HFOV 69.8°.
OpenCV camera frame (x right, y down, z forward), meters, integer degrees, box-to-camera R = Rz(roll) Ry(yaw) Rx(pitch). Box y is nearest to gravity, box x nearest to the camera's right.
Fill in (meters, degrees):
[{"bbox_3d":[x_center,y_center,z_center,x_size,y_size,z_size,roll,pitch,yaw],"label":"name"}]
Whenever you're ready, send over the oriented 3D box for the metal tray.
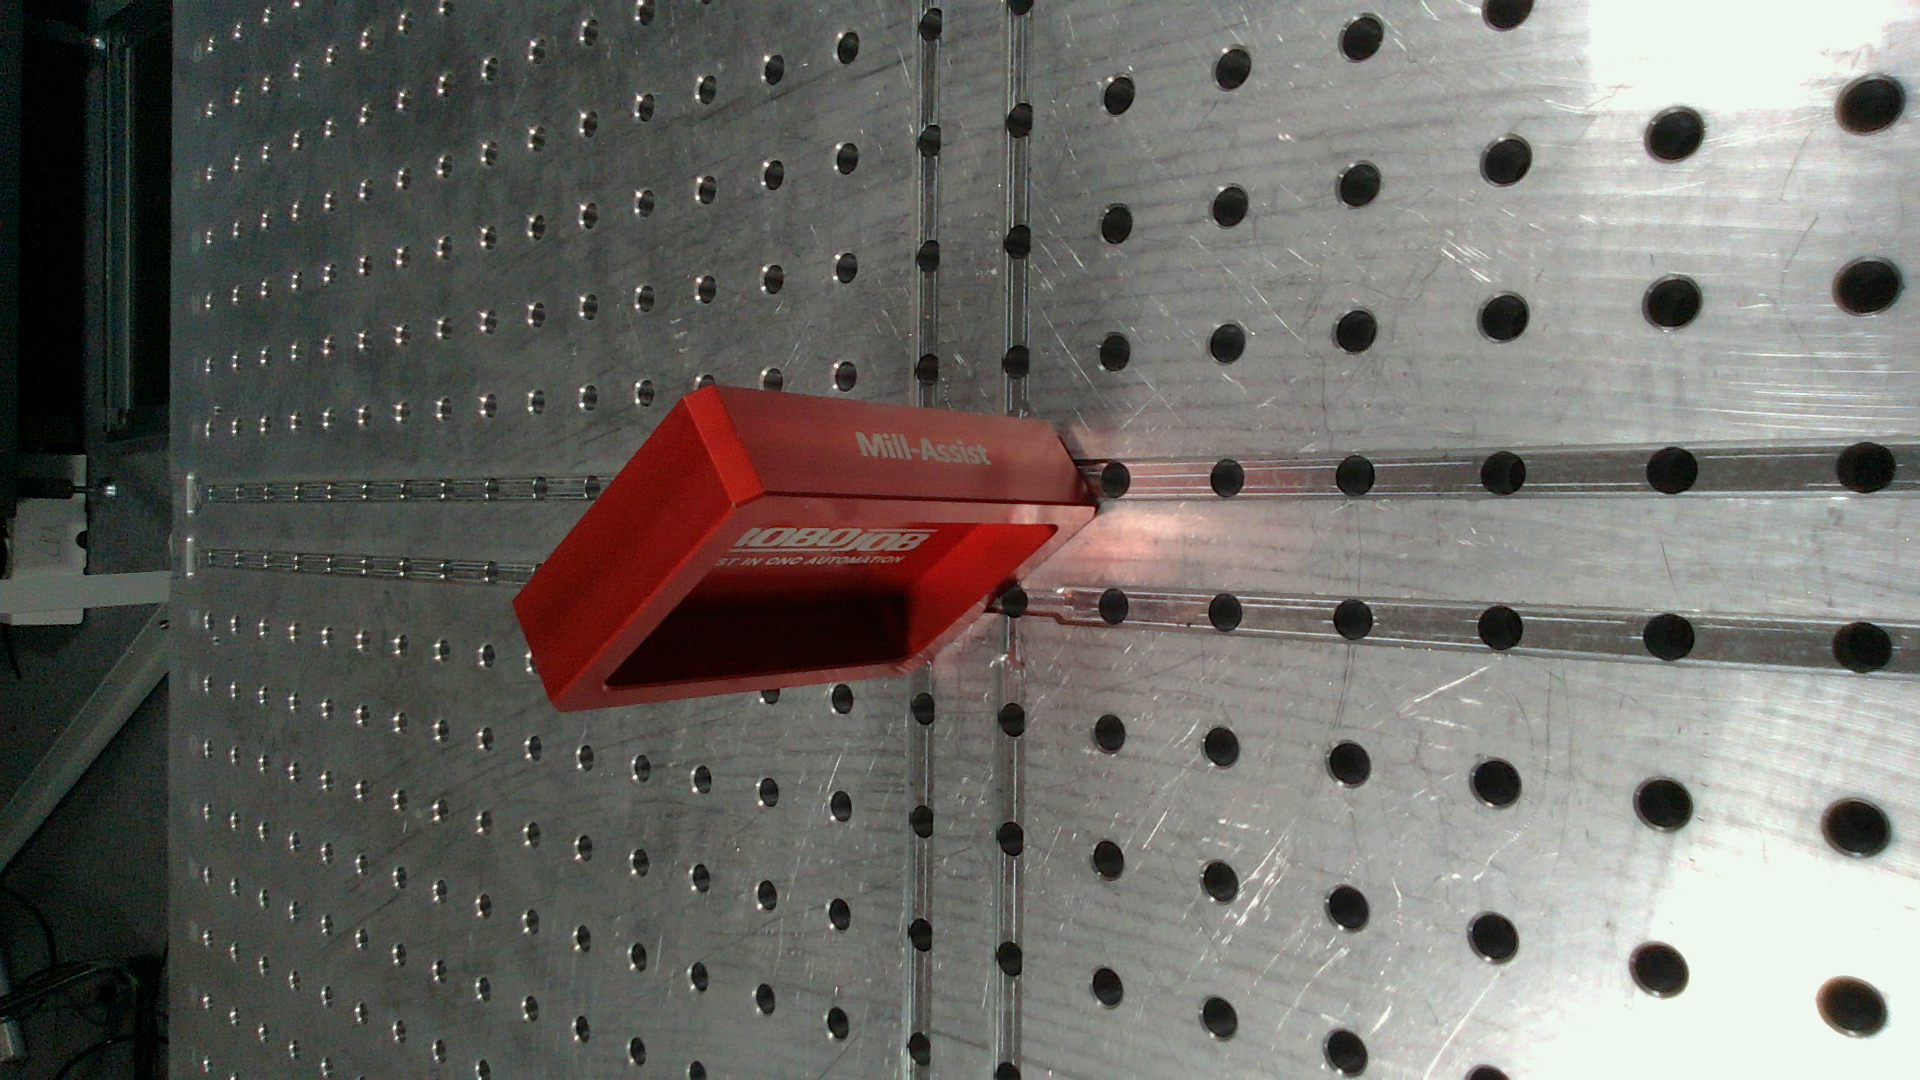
[{"bbox_3d":[-0.036,0.004,0.359,0.090,0.131,0.030,-43,64,32],"label":"metal tray"}]
